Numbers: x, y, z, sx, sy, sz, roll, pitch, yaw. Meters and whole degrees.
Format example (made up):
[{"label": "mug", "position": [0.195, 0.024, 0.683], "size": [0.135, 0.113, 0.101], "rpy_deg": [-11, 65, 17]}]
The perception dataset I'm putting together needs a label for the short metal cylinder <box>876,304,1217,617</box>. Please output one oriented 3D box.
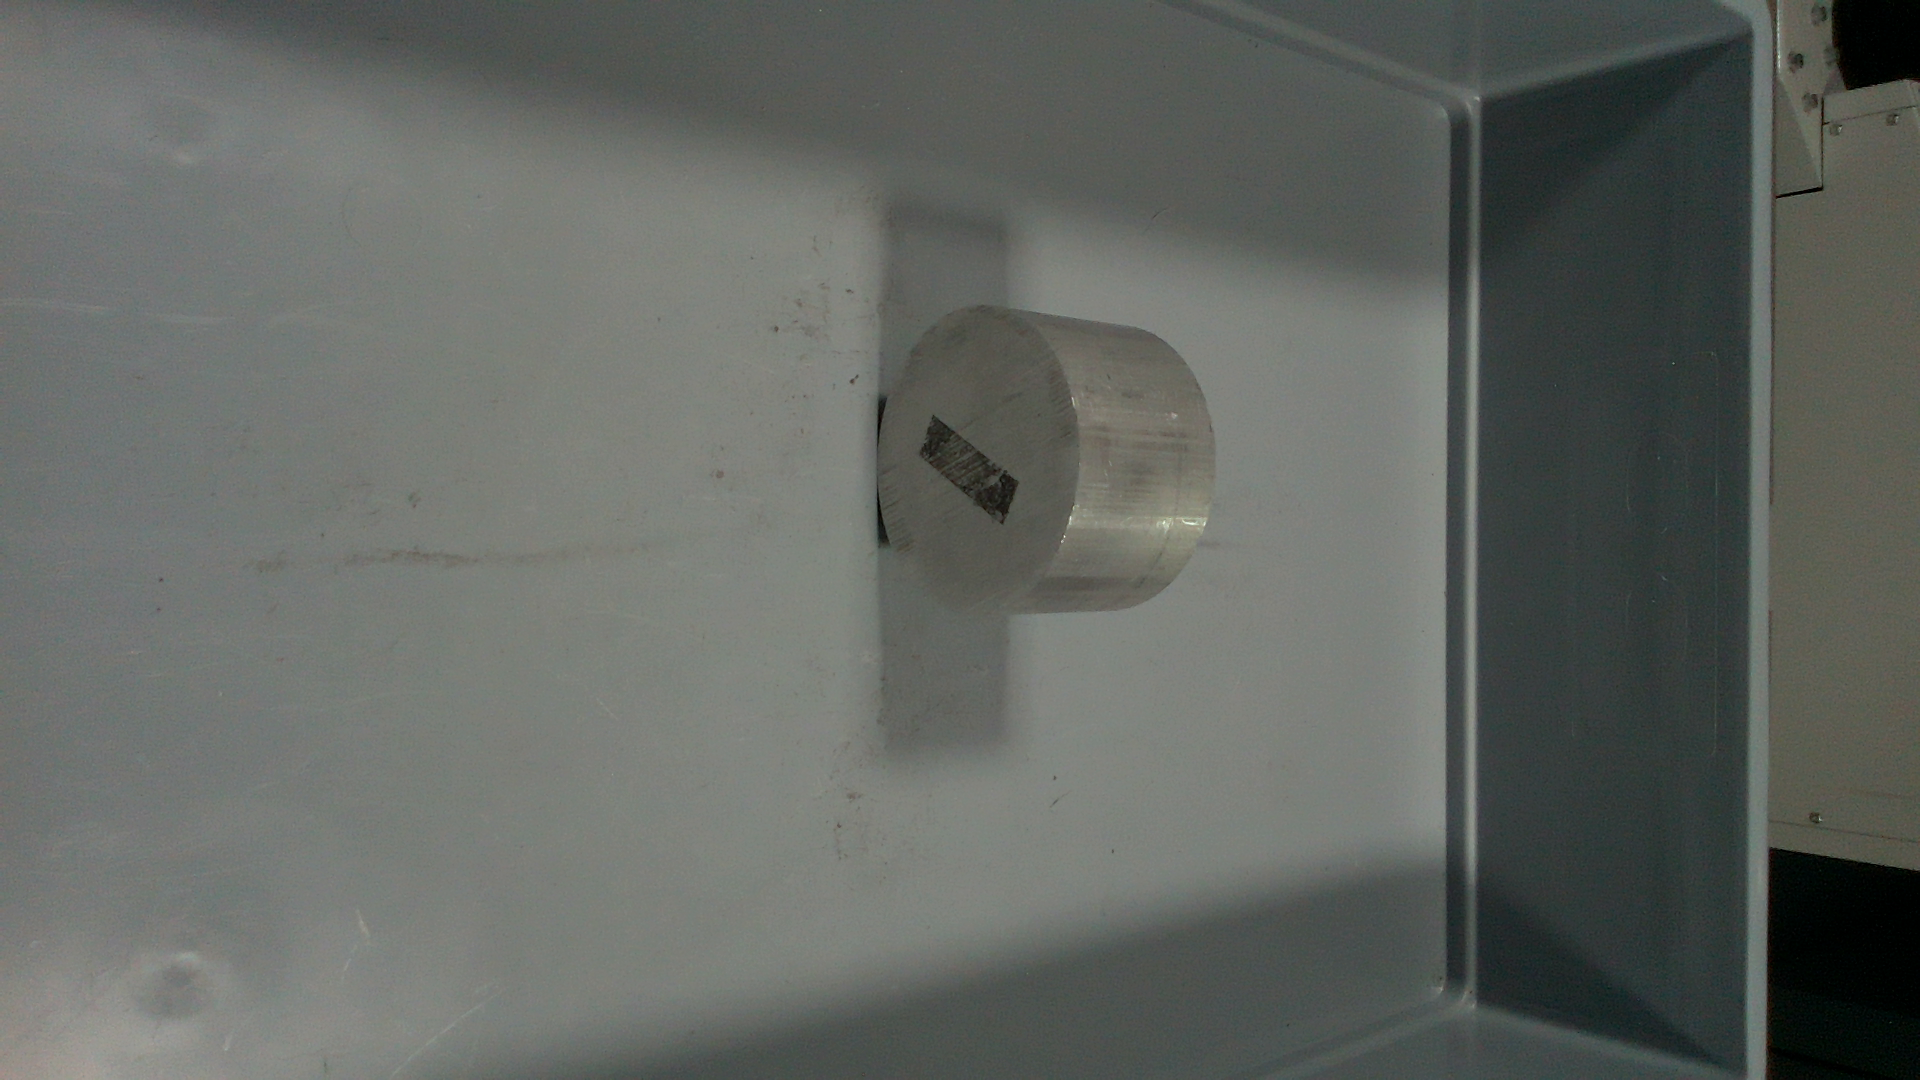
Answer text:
[{"label": "short metal cylinder", "position": [0.021, -0.020, 0.369], "size": [0.050, 0.080, 0.080], "rpy_deg": [0, 90, -40]}]
